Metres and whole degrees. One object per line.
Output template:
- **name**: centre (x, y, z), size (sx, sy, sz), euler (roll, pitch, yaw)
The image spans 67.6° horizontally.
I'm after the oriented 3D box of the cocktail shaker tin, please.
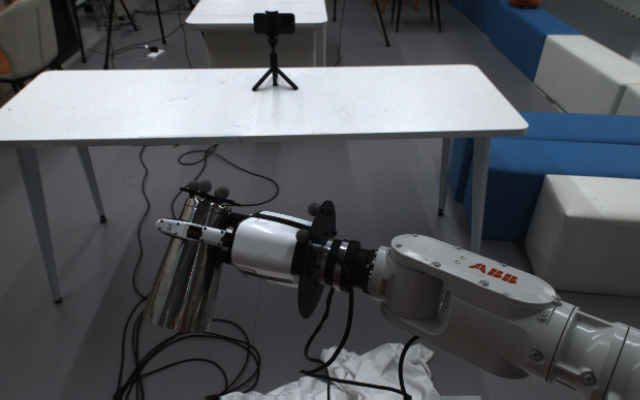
- **cocktail shaker tin**: centre (-0.176, 0.084, 0.674), size (0.093, 0.170, 0.093), euler (15, -5, 1)
